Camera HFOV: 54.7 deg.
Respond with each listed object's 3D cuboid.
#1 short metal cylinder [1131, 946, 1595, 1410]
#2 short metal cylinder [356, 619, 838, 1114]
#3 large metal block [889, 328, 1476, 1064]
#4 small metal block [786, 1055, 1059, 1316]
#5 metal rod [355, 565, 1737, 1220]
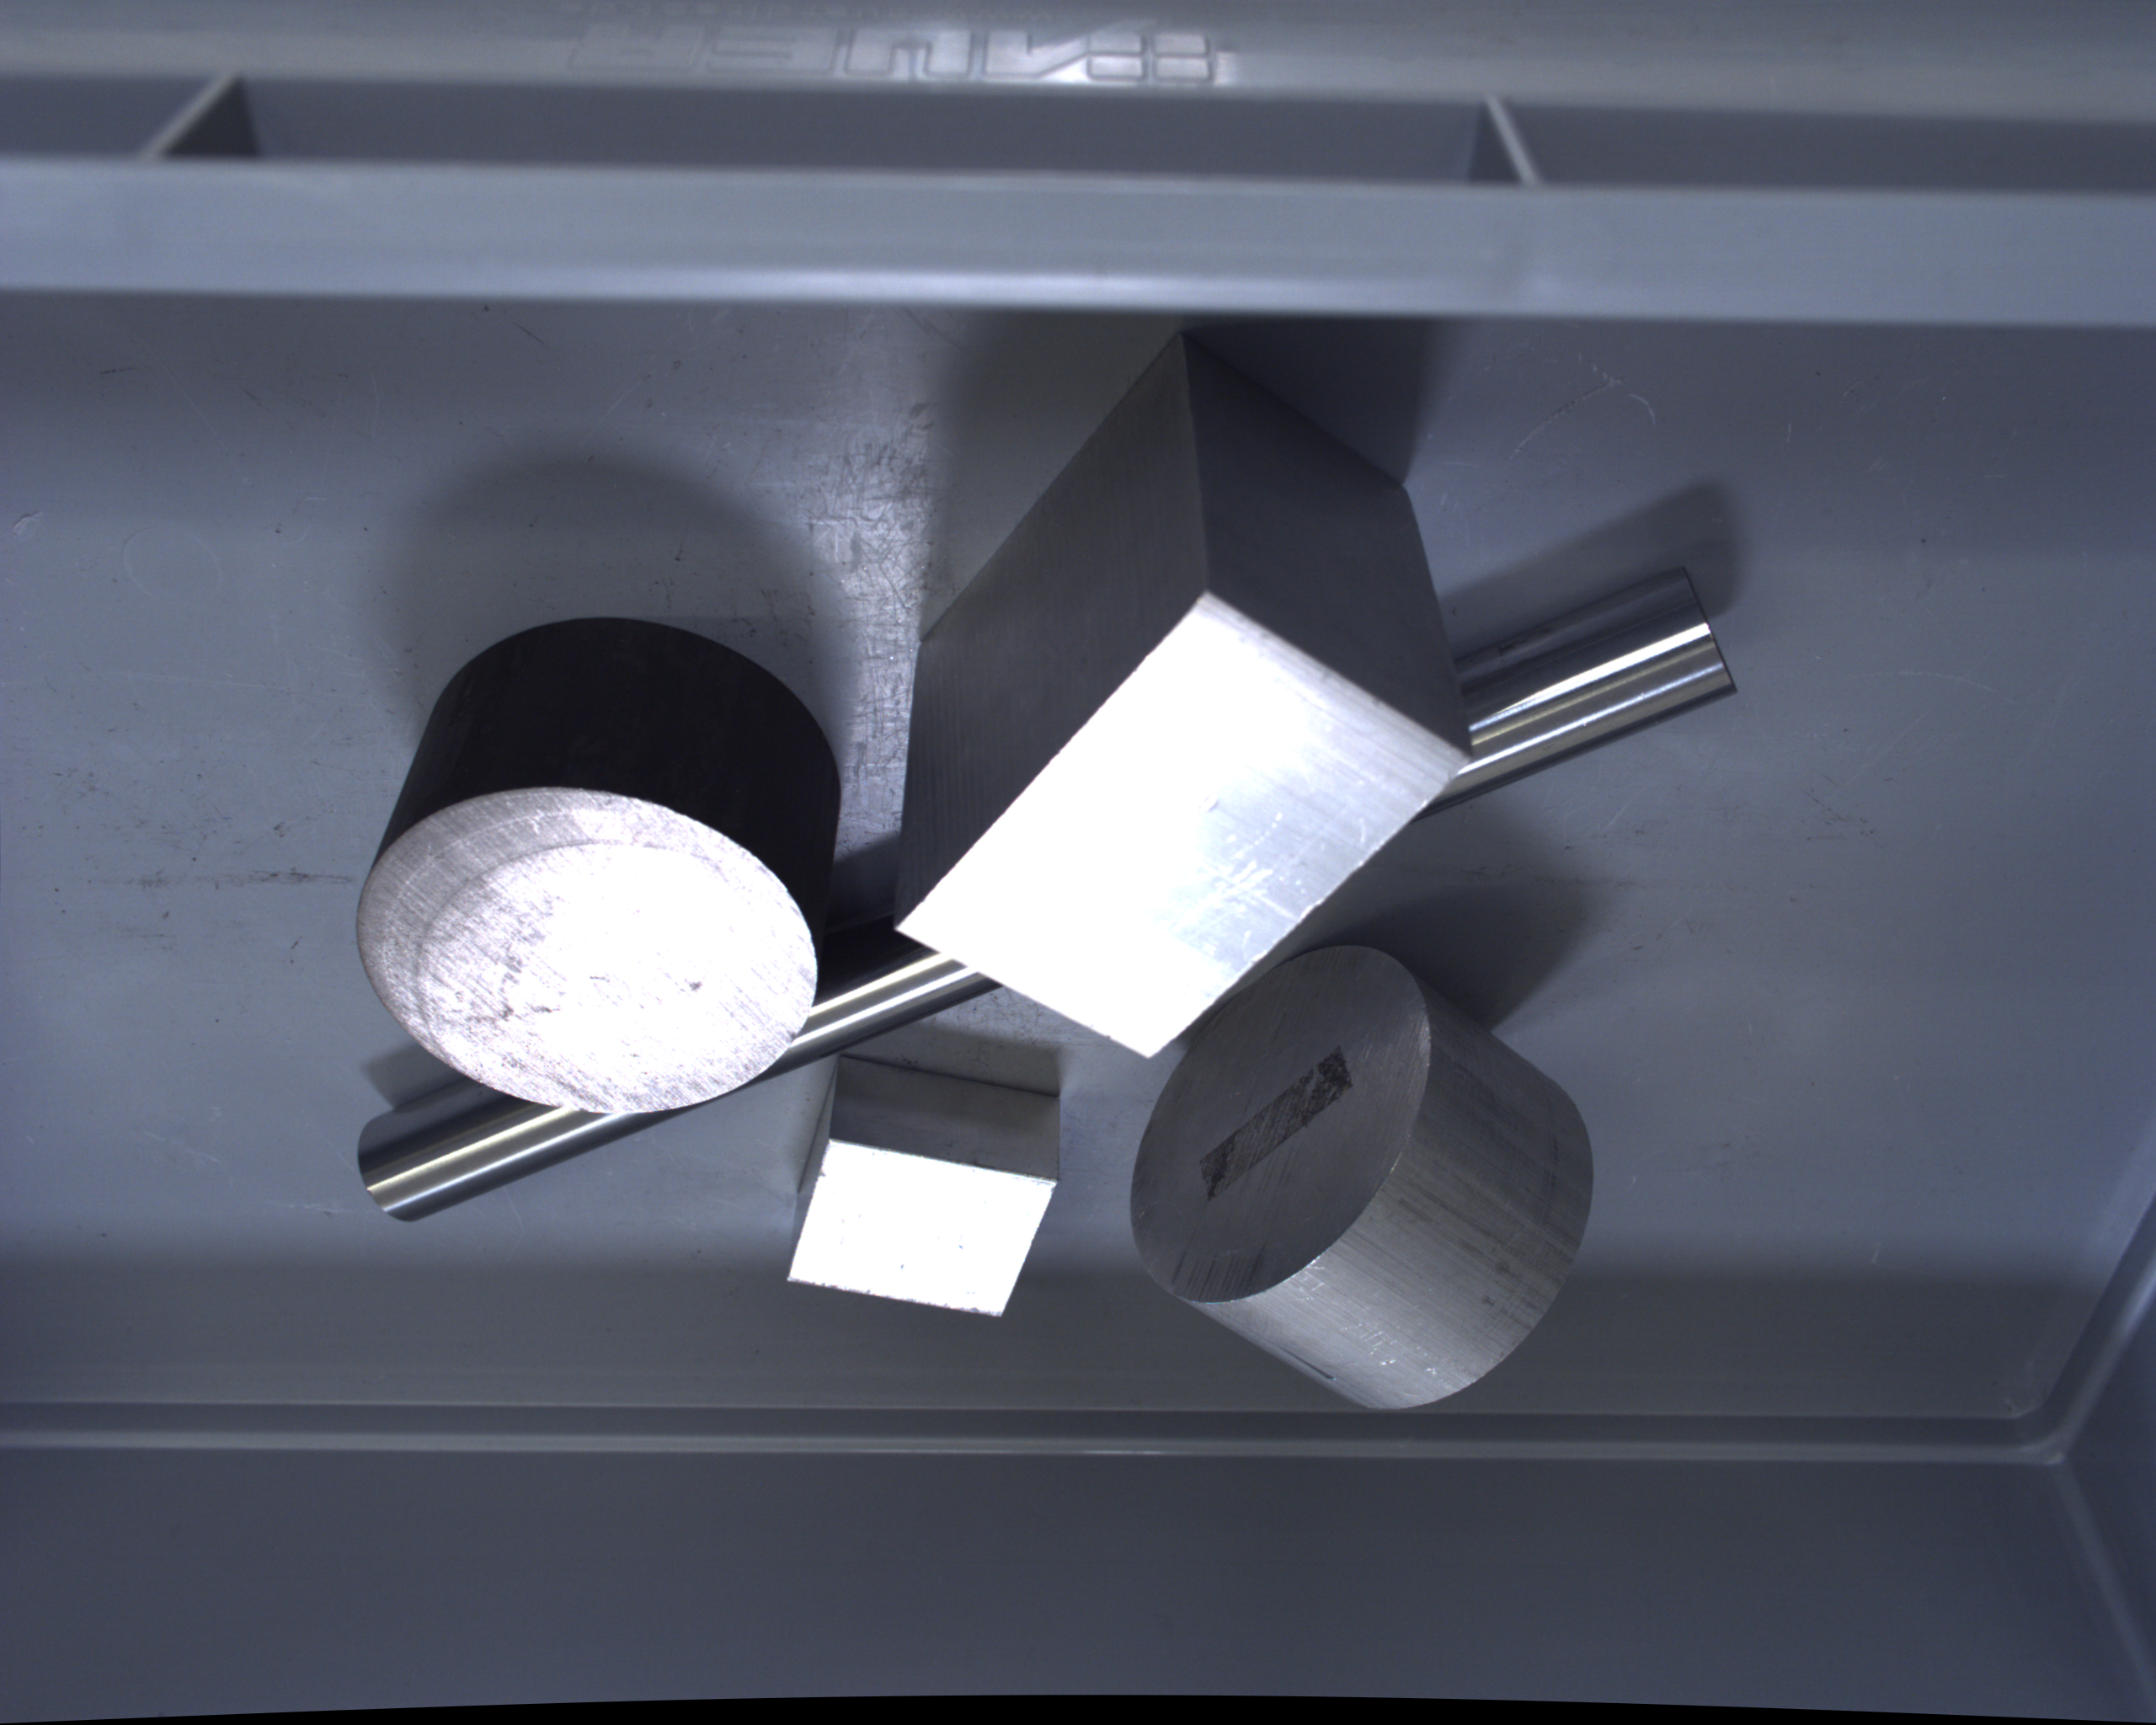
[{"bbox_3d":[0.057,0.064,0.426,0.050,0.080,0.080,36,121,-27],"label":"short metal cylinder"},{"bbox_3d":[-0.087,0.001,0.391,0.081,0.050,0.079,0,130,0],"label":"short metal cylinder"},{"bbox_3d":[0.014,-0.028,0.348,0.050,0.080,0.080,29,124,-23],"label":"large metal block"},{"bbox_3d":[-0.035,0.073,0.469,0.050,0.025,0.050,12,129,-10],"label":"small metal block"},{"bbox_3d":[-0.019,0.013,0.418,0.300,0.025,0.025,-22,127,18],"label":"metal rod"}]
